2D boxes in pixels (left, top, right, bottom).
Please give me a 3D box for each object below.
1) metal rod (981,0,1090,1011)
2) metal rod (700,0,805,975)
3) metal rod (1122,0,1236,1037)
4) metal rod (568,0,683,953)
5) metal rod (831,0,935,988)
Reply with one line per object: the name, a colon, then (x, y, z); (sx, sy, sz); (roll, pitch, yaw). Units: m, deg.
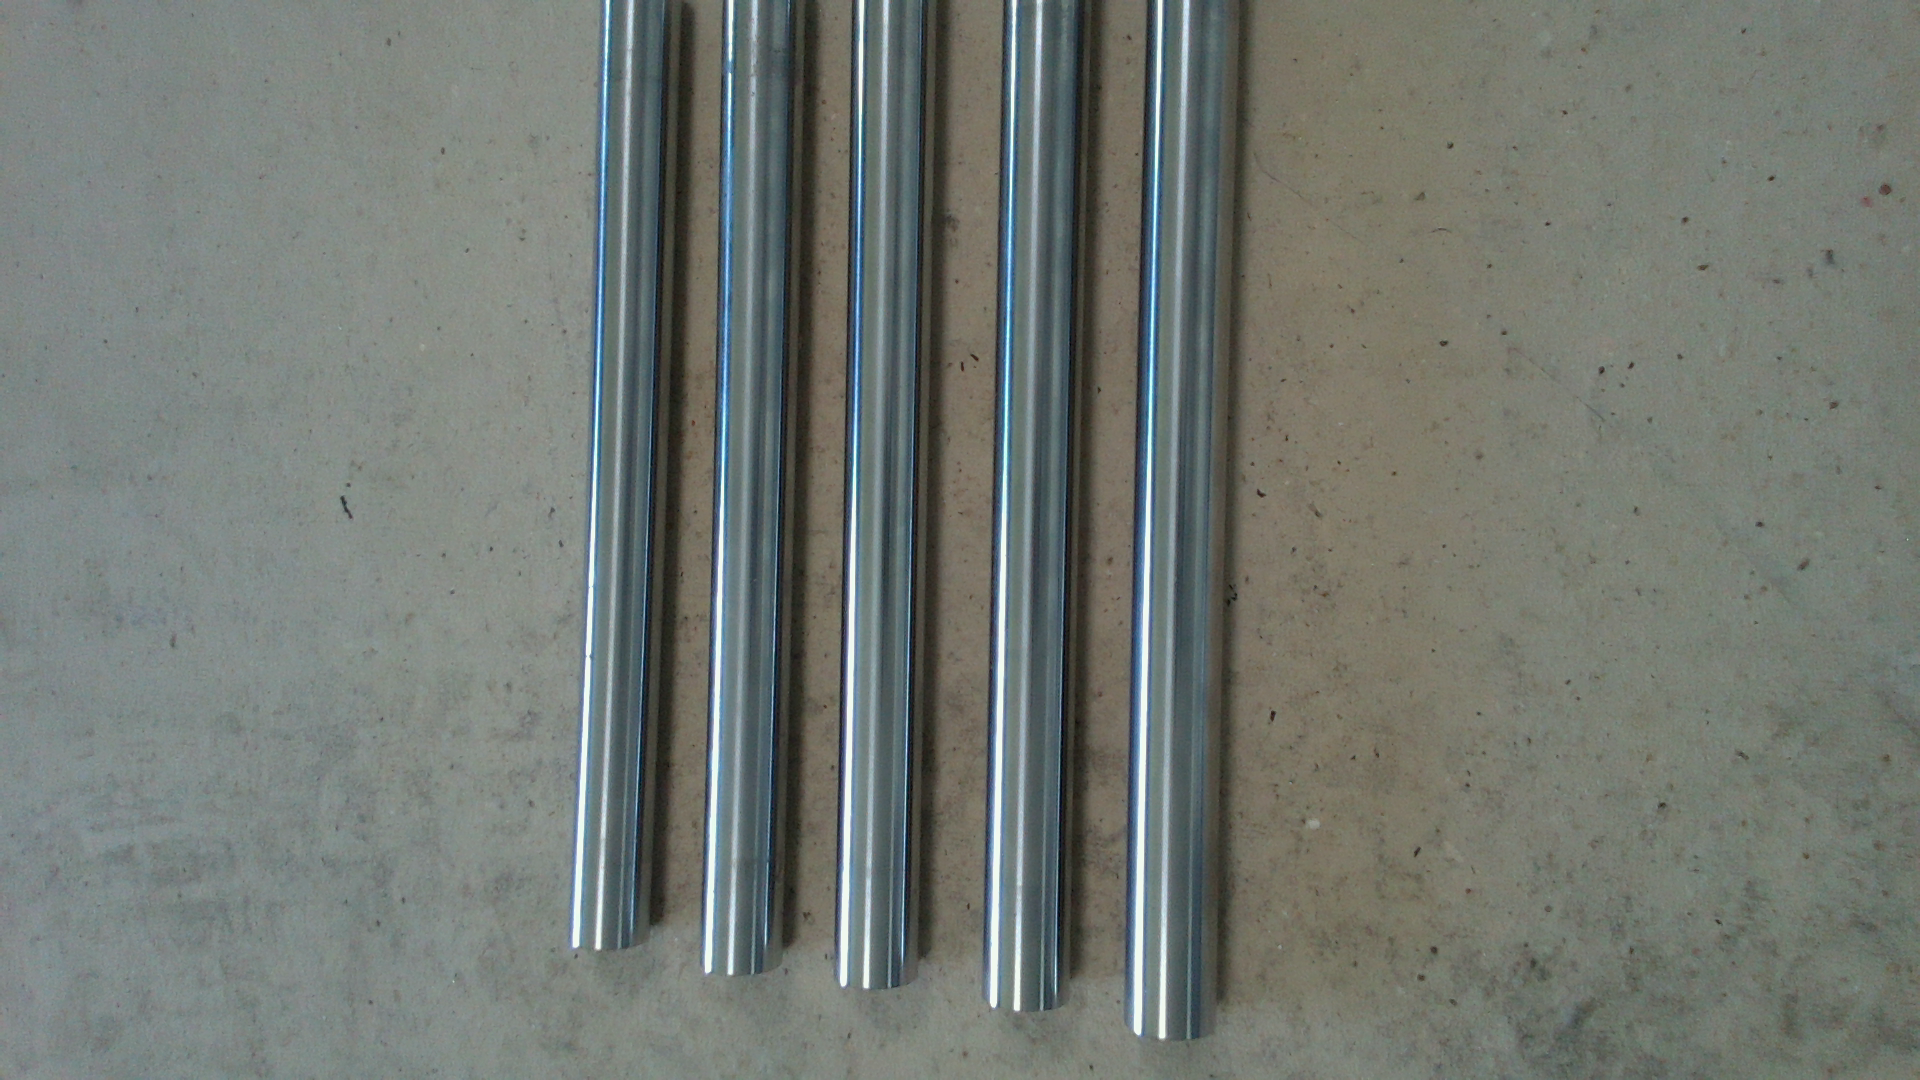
metal rod: (0.021, -0.021, 0.388); (0.025, 0.025, 0.300); (1, 90, 20)
metal rod: (-0.063, -0.021, 0.418); (0.025, 0.025, 0.300); (2, 91, 20)
metal rod: (0.060, -0.019, 0.374); (0.025, 0.025, 0.300); (1, 90, 20)
metal rod: (-0.105, -0.024, 0.432); (0.025, 0.025, 0.300); (2, 91, 20)
metal rod: (-0.022, -0.022, 0.404); (0.025, 0.025, 0.300); (1, 90, 20)
